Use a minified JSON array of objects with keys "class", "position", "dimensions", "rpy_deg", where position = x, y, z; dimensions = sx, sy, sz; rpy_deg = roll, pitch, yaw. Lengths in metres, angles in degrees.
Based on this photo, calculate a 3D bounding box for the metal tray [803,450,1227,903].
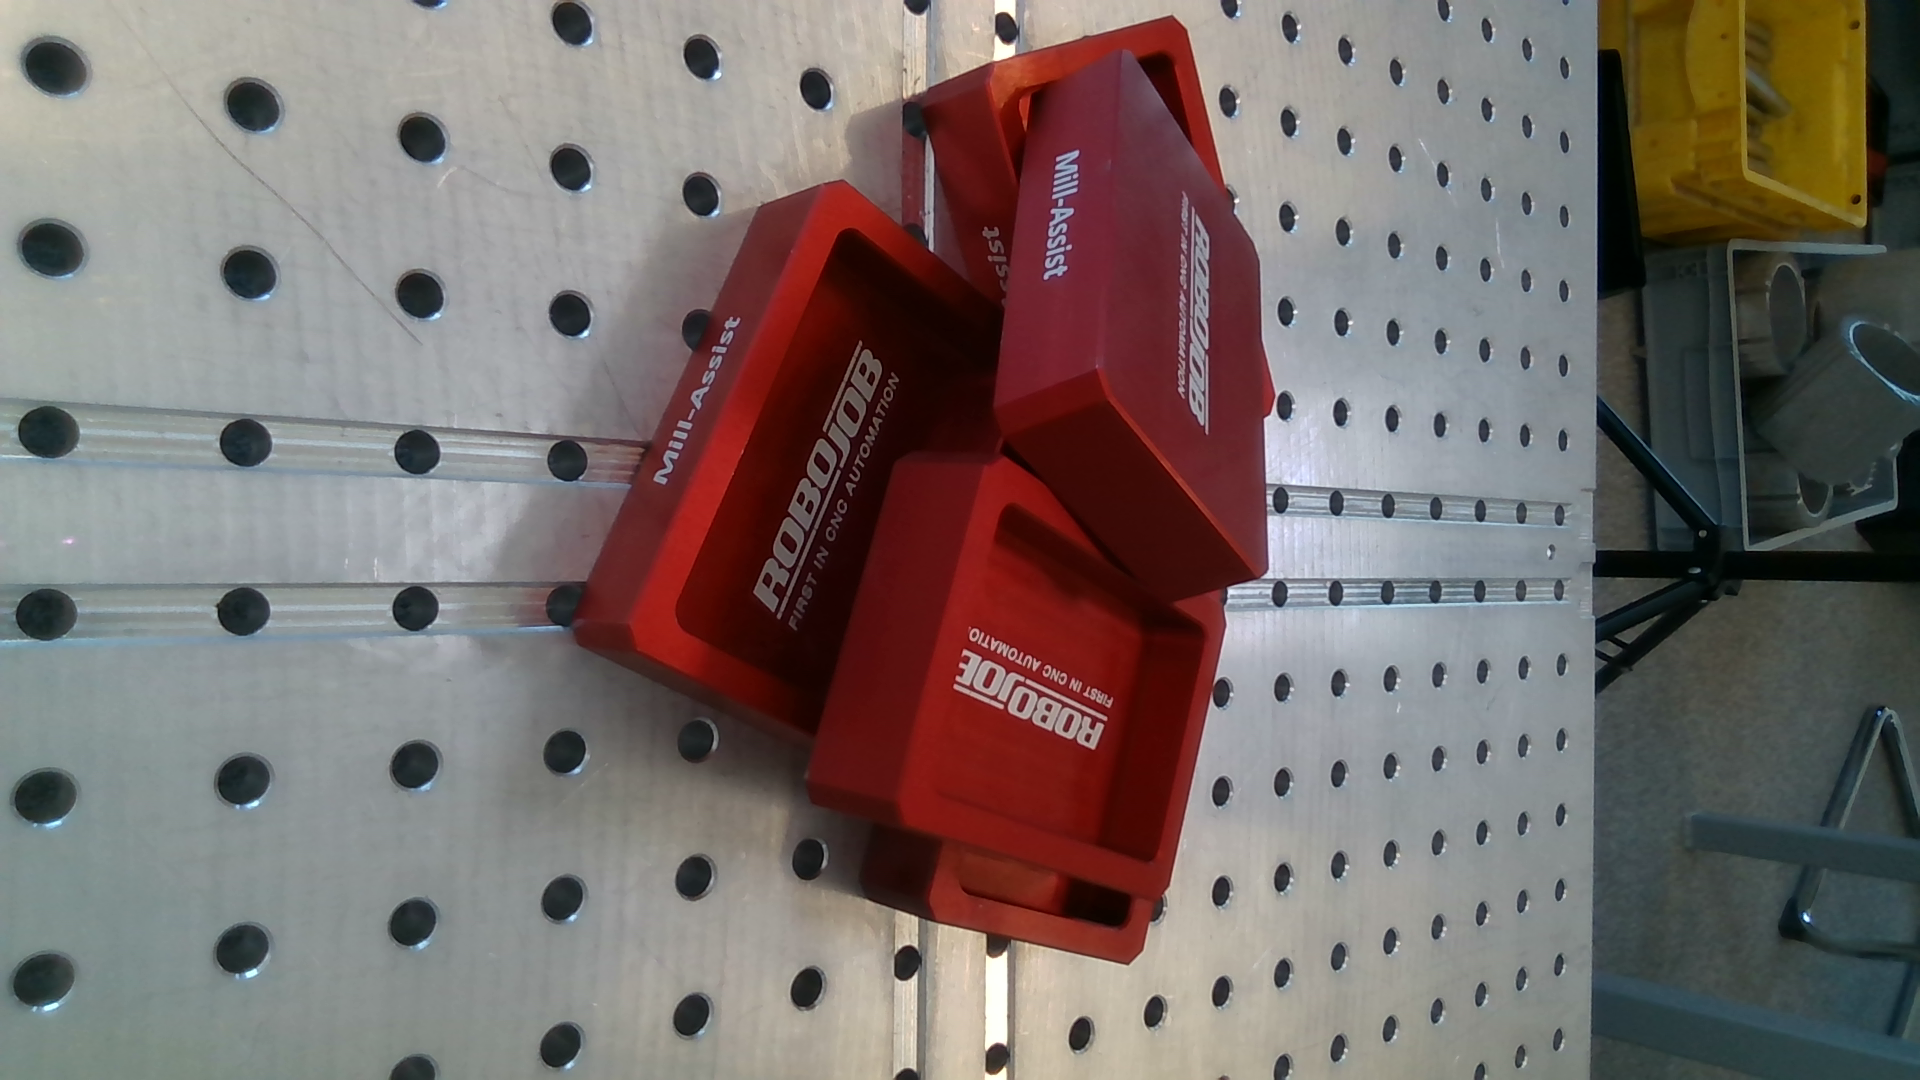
[{"class":"metal tray","position":[0.022,0.041,0.368],"dimensions":[0.130,0.030,0.090],"rpy_deg":[30,70,-48]}]

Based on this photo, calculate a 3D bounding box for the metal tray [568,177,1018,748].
[{"class":"metal tray","position":[-0.034,-0.015,0.362],"dimensions":[0.090,0.030,0.130],"rpy_deg":[33,70,-35]}]

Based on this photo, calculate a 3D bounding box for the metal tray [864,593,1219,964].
[{"class":"metal tray","position":[0.029,0.053,0.414],"dimensions":[0.090,0.030,0.130],"rpy_deg":[24,74,-38]}]

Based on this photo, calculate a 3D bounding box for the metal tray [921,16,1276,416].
[{"class":"metal tray","position":[0.047,-0.087,0.430],"dimensions":[0.090,0.030,0.130],"rpy_deg":[-29,108,-37]}]

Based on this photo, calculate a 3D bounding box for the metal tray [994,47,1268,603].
[{"class":"metal tray","position":[0.051,-0.060,0.381],"dimensions":[0.090,0.030,0.130],"rpy_deg":[43,41,-40]}]
